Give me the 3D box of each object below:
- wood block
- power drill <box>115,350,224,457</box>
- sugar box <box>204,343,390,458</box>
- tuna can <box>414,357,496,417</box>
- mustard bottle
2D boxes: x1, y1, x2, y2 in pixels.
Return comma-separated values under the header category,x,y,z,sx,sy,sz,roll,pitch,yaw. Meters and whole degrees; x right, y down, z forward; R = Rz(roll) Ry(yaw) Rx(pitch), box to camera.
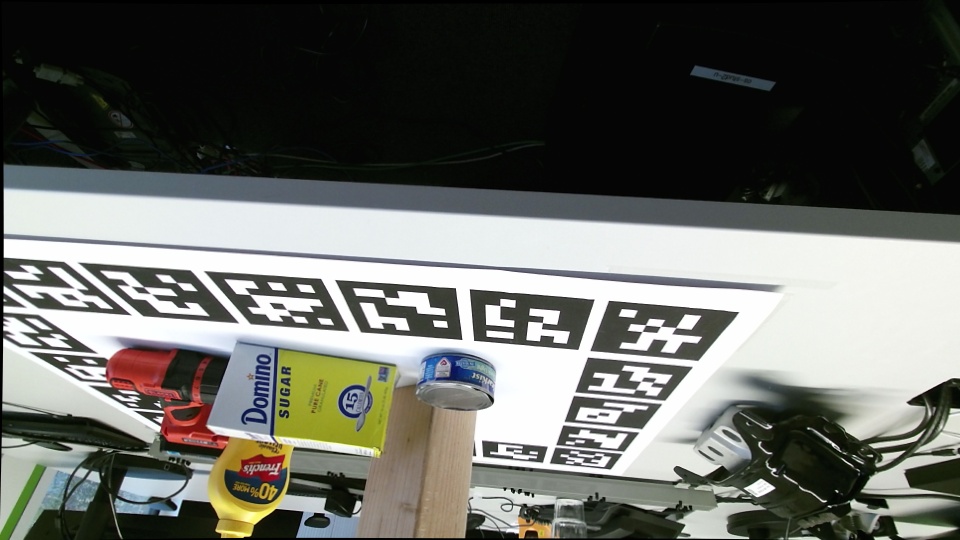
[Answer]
category,x,y,z,sx,sy,sz,roll,pitch,yaw
wood block,-0.072,0.248,0.624,0.091,0.205,0.090,-15,138,26
power drill,-0.334,0.172,0.668,0.185,0.057,0.187,11,137,-7
sugar box,-0.194,0.142,0.580,0.177,0.092,0.045,12,147,-5
tuna can,-0.026,0.128,0.577,0.086,0.033,0.086,4,143,3
mustard bottle,-0.290,0.252,0.672,0.058,0.190,0.096,-25,132,34
